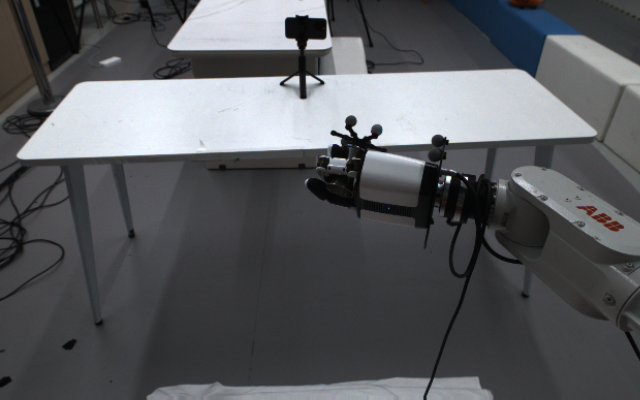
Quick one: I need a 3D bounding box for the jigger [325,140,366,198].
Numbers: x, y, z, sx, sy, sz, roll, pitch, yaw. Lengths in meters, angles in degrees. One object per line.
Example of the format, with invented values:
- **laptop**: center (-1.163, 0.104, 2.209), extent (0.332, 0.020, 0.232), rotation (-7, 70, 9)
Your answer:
- **jigger**: center (0.040, -0.047, 0.712), extent (0.043, 0.043, 0.071), rotation (16, 70, 19)
